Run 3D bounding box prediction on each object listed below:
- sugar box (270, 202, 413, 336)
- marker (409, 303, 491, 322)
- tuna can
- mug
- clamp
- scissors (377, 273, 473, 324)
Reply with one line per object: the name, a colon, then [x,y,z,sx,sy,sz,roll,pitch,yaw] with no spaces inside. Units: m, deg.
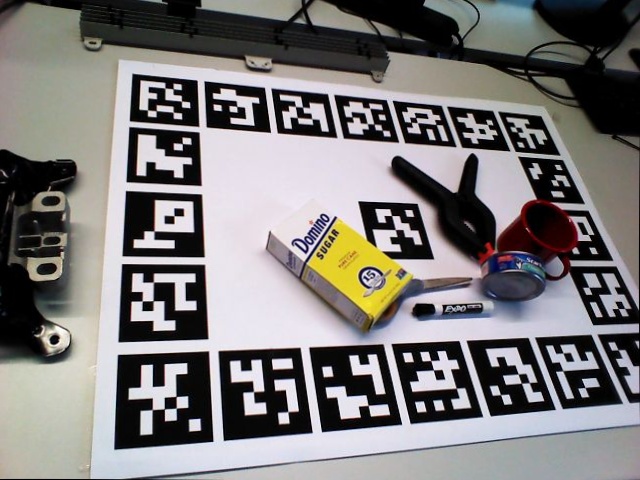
sugar box: [0.028,0.031,0.682,0.176,0.045,0.092,42,56,18]
marker: [0.178,0.099,0.709,0.121,0.020,0.019,-2,61,-18]
tuna can: [0.279,0.056,0.728,0.086,0.086,0.033,16,56,-7]
mug: [0.328,0.014,0.775,0.093,0.082,0.117,-25,66,-29]
clamp: [0.222,-0.051,0.818,0.165,0.037,0.202,-8,63,-22]
scissors: [0.129,0.061,0.714,0.202,0.016,0.087,-8,58,-23]
